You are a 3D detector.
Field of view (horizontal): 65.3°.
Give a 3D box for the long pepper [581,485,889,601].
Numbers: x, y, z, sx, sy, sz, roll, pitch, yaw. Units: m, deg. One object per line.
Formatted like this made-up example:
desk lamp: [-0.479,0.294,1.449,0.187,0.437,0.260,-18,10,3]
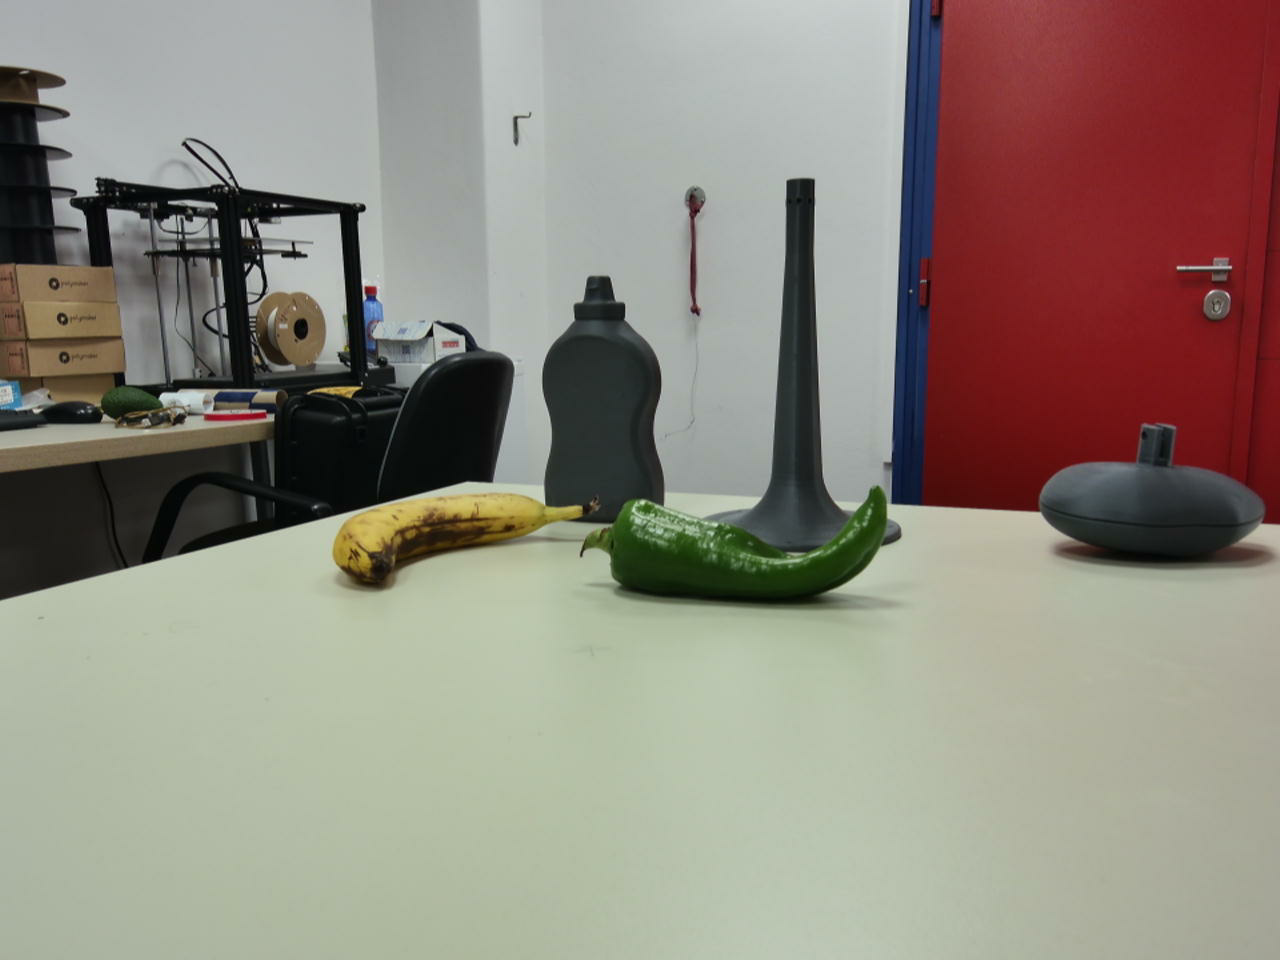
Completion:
long pepper: [0.048,0.032,0.559,0.175,0.065,0.058,3,6,22]
